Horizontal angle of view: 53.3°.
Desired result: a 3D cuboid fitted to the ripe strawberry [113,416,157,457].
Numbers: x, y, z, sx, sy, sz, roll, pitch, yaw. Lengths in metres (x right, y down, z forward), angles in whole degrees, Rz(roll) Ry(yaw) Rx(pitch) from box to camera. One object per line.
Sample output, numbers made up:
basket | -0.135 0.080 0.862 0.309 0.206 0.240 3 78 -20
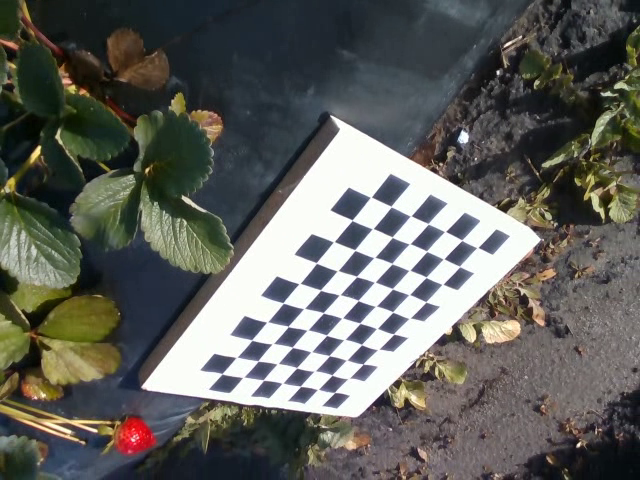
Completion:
ripe strawberry | -0.166 0.179 0.572 0.044 0.040 0.036 10 38 -18
